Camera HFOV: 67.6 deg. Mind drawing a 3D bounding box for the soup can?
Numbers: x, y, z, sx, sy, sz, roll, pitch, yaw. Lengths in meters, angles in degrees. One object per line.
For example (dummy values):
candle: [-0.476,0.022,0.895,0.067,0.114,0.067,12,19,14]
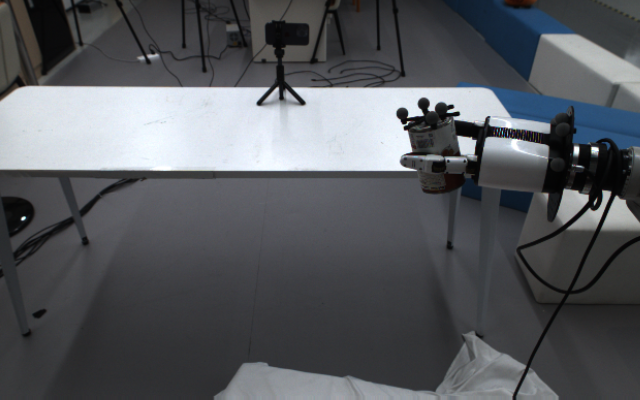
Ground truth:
soup can: [0.172,-0.069,0.710,0.067,0.101,0.067,-16,23,7]
